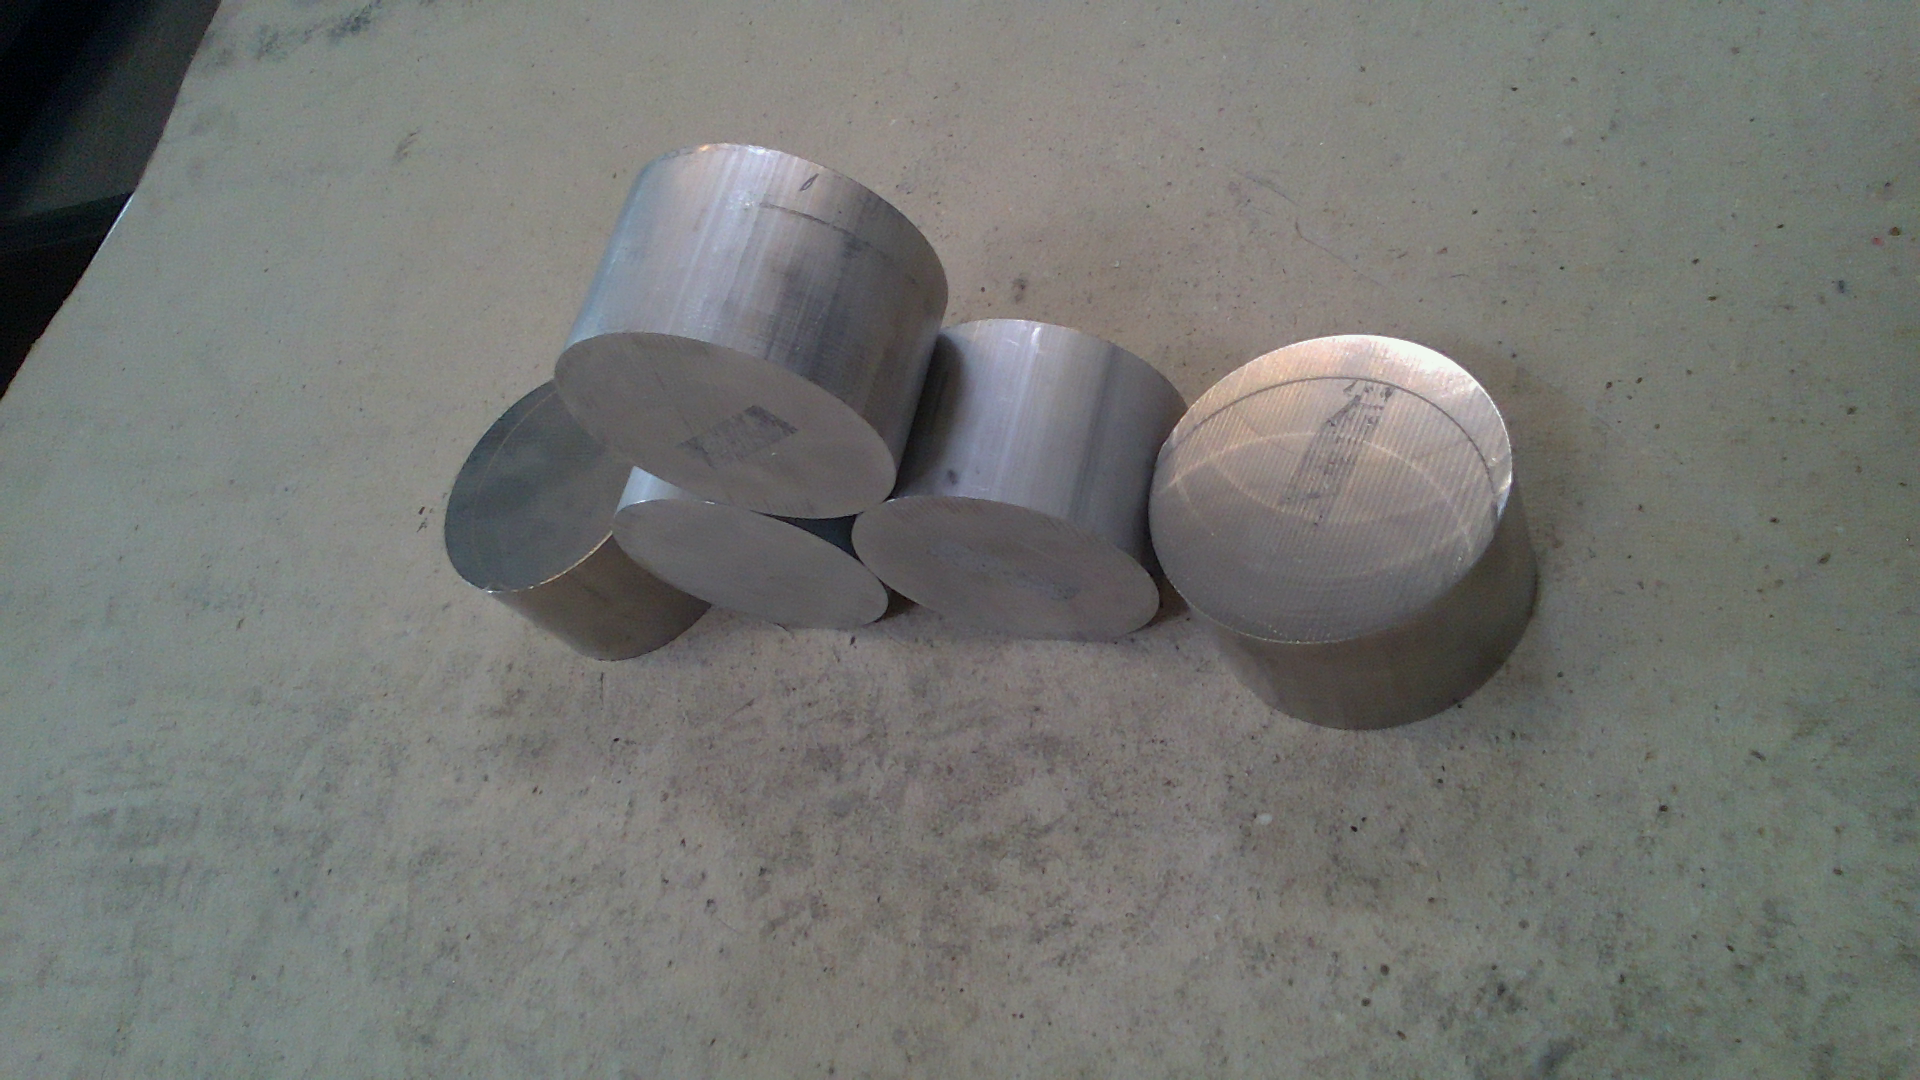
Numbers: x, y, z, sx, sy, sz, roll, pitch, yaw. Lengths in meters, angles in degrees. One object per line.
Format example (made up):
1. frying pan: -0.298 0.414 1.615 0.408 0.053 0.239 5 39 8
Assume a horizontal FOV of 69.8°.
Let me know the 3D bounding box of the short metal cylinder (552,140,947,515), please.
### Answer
1. short metal cylinder: -0.048 -0.047 0.323 0.080 0.080 0.050 1 63 29

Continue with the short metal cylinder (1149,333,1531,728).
1. short metal cylinder: 0.091 -0.002 0.329 0.080 0.050 0.080 -13 56 21

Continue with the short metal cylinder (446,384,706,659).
1. short metal cylinder: -0.117 -0.008 0.446 0.080 0.050 0.080 -13 56 21

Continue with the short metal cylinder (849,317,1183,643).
1. short metal cylinder: 0.016 -0.013 0.358 0.080 0.080 0.050 0 61 29

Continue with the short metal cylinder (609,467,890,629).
1. short metal cylinder: -0.053 -0.014 0.396 0.080 0.080 0.050 0 62 29
